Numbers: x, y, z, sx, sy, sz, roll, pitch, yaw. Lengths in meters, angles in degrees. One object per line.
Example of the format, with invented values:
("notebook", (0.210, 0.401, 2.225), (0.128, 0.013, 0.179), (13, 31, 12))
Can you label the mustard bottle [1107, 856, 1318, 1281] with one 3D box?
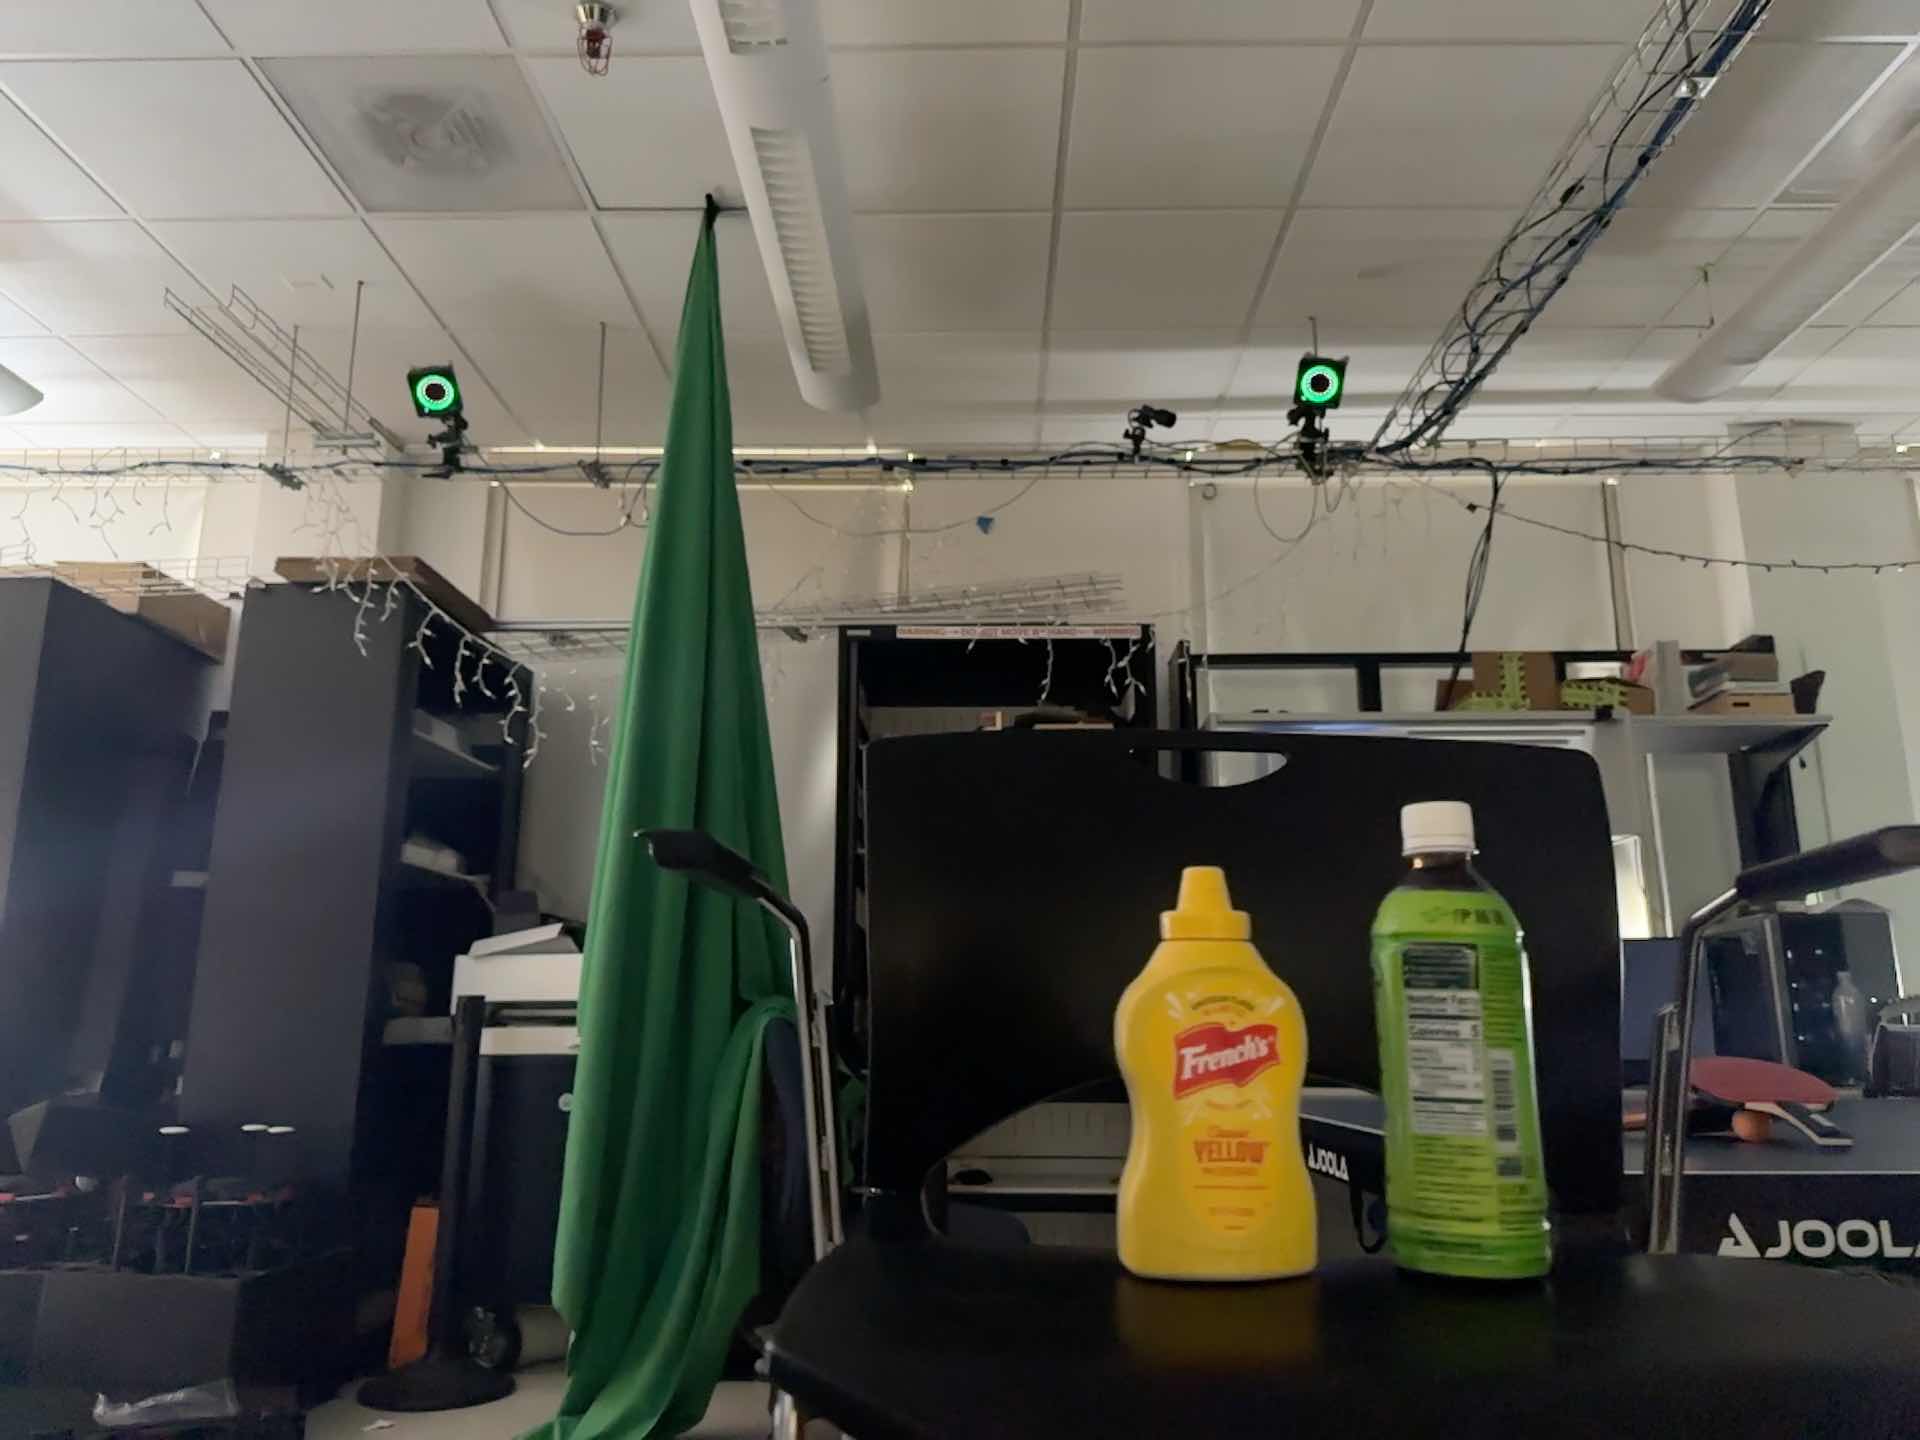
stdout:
("mustard bottle", (0.112, 0.154, 0.617), (0.092, 0.184, 0.054), (1, -10, -3))

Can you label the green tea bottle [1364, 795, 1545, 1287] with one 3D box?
("green tea bottle", (0.222, 0.140, 0.614), (0.073, 0.212, 0.073), (2, -9, 0))
